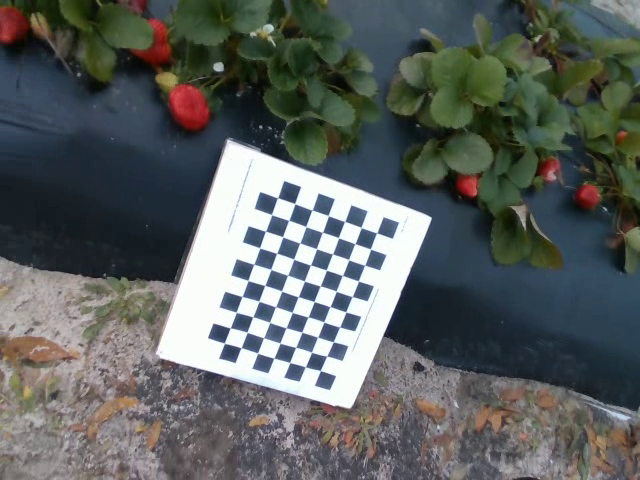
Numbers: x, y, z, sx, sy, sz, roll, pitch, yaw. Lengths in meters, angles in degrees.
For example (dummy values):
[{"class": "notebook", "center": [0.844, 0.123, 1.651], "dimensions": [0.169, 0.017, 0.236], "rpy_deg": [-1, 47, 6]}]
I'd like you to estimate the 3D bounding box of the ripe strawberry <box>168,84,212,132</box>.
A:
[{"class": "ripe strawberry", "center": [-0.158, -0.167, 0.873], "dimensions": [0.057, 0.056, 0.065], "rpy_deg": [-17, 15, 8]}]
